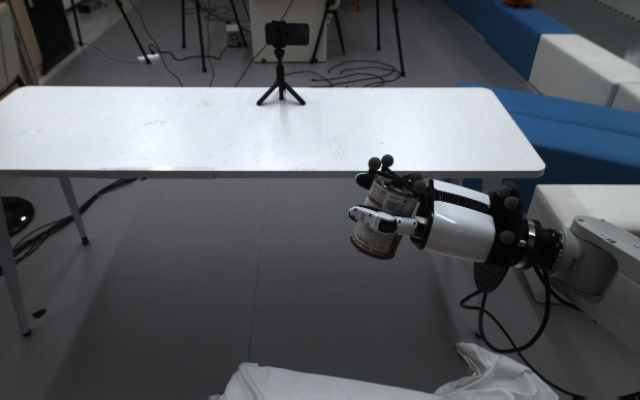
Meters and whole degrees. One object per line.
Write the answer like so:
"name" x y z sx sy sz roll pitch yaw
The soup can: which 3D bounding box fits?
"soup can" 0.091 0.022 0.670 0.067 0.101 0.067 16 22 -7
